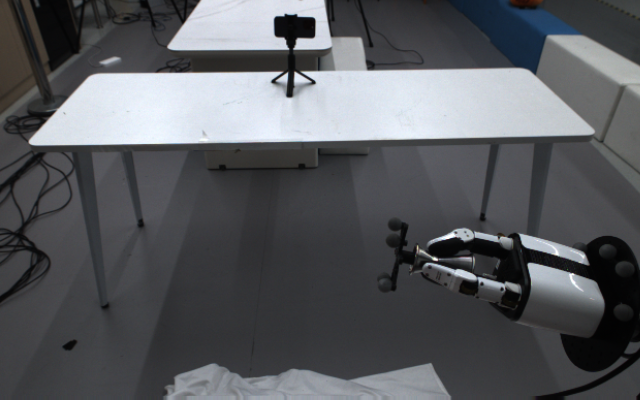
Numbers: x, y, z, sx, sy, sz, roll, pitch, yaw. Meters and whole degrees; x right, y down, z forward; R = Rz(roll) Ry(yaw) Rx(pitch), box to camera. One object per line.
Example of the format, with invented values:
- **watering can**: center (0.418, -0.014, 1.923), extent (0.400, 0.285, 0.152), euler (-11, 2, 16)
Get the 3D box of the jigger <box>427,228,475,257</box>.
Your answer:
- **jigger**: center (0.151, 0.074, 0.576), extent (0.071, 0.043, 0.043), euler (12, 36, 5)
